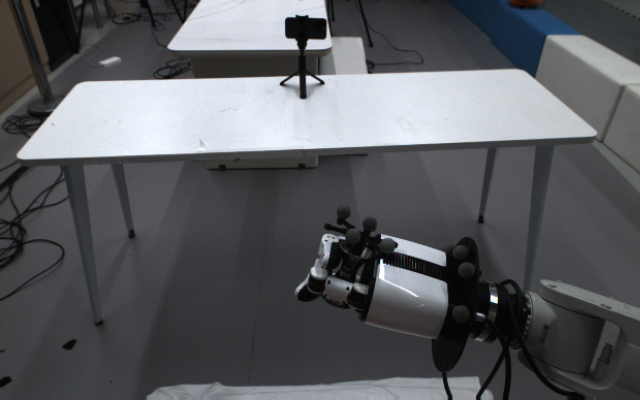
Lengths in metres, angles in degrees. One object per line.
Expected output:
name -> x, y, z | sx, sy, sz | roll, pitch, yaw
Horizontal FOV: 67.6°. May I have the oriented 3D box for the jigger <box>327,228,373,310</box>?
jigger -> 0.033, 0.087, 0.569 | 0.043, 0.071, 0.043 | 18, 17, -6
